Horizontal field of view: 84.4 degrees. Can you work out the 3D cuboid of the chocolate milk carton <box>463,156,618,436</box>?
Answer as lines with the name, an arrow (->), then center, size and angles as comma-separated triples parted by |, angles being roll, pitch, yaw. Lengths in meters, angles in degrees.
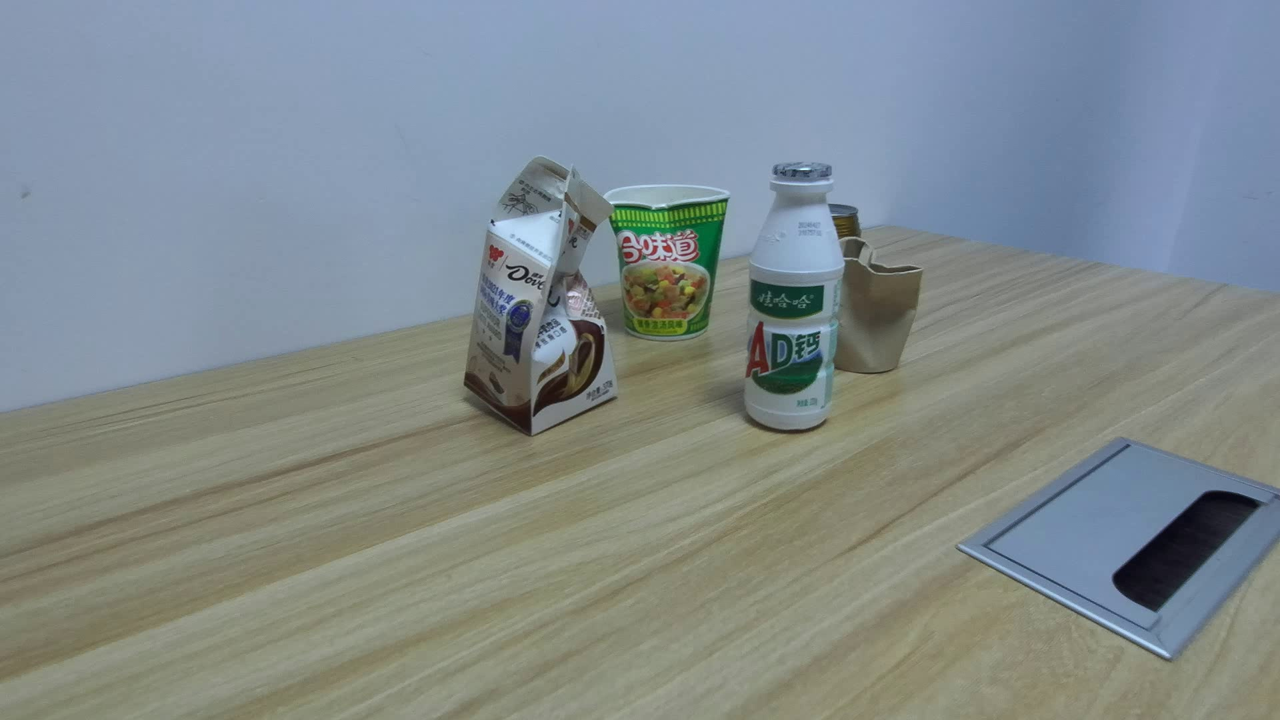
chocolate milk carton -> -0.055, -0.041, 0.434 | 0.076, 0.155, 0.090 | 20, 16, 36

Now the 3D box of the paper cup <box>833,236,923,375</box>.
paper cup -> 0.160, -0.036, 0.491 | 0.058, 0.083, 0.066 | 11, 27, 19

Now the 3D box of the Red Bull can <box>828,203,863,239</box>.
Red Bull can -> 0.149, -0.080, 0.591 | 0.068, 0.093, 0.068 | -3, 21, 1

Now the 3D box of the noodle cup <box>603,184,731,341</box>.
noodle cup -> 0.022, -0.079, 0.566 | 0.093, 0.109, 0.087 | 3, 21, 11

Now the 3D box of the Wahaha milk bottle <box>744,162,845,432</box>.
Wahaha milk bottle -> 0.087, -0.034, 0.400 | 0.053, 0.147, 0.053 | -1, 21, 1
